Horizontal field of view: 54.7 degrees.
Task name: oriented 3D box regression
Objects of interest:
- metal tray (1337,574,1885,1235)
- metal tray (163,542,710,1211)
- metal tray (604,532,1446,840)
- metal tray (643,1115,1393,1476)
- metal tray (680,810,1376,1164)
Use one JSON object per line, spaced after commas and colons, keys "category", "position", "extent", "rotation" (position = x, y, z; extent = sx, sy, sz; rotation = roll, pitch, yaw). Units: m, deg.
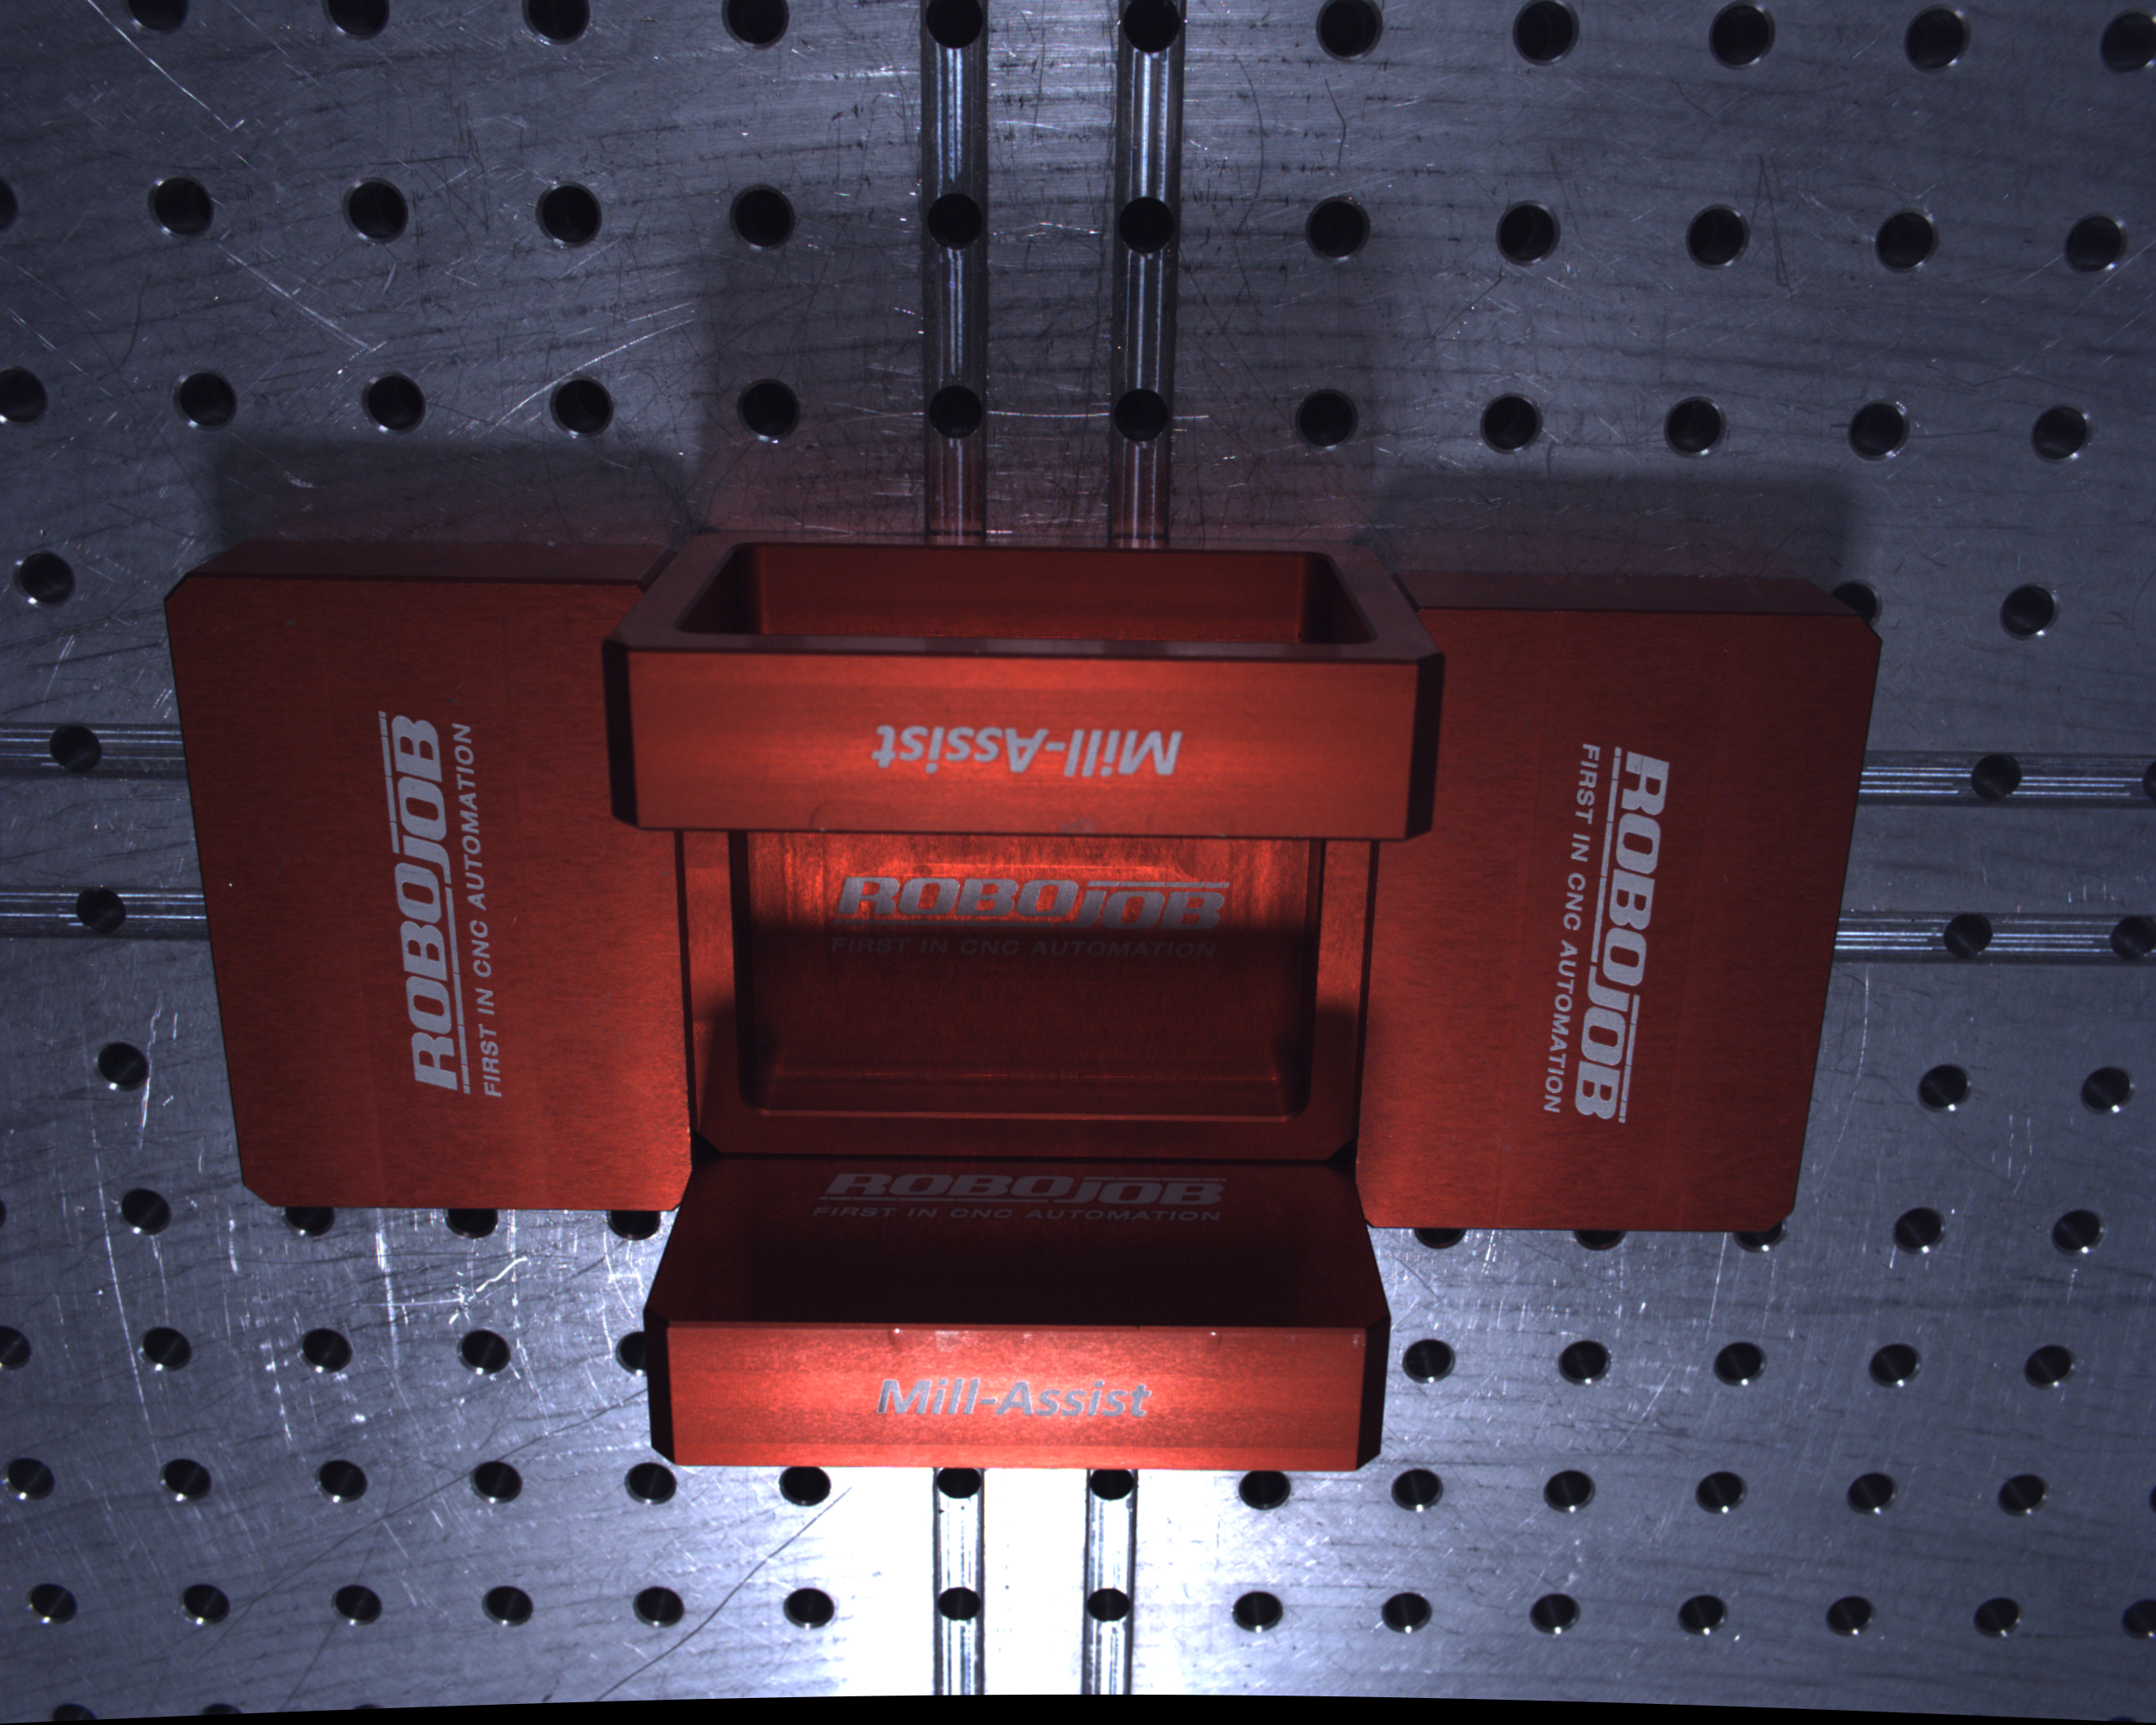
{"category": "metal tray", "position": [0.101, 0.010, 0.414], "extent": [0.091, 0.030, 0.129], "rotation": [1, 110, -2]}
{"category": "metal tray", "position": [-0.121, 0.004, 0.410], "extent": [0.091, 0.030, 0.129], "rotation": [1, 110, -1]}
{"category": "metal tray", "position": [-0.008, -0.034, 0.366], "extent": [0.131, 0.090, 0.030], "rotation": [1, 110, -1]}
{"category": "metal tray", "position": [-0.011, 0.079, 0.406], "extent": [0.131, 0.090, 0.030], "rotation": [1, 110, -1]}
{"category": "metal tray", "position": [-0.010, 0.013, 0.413], "extent": [0.131, 0.030, 0.089], "rotation": [1, 110, -1]}
